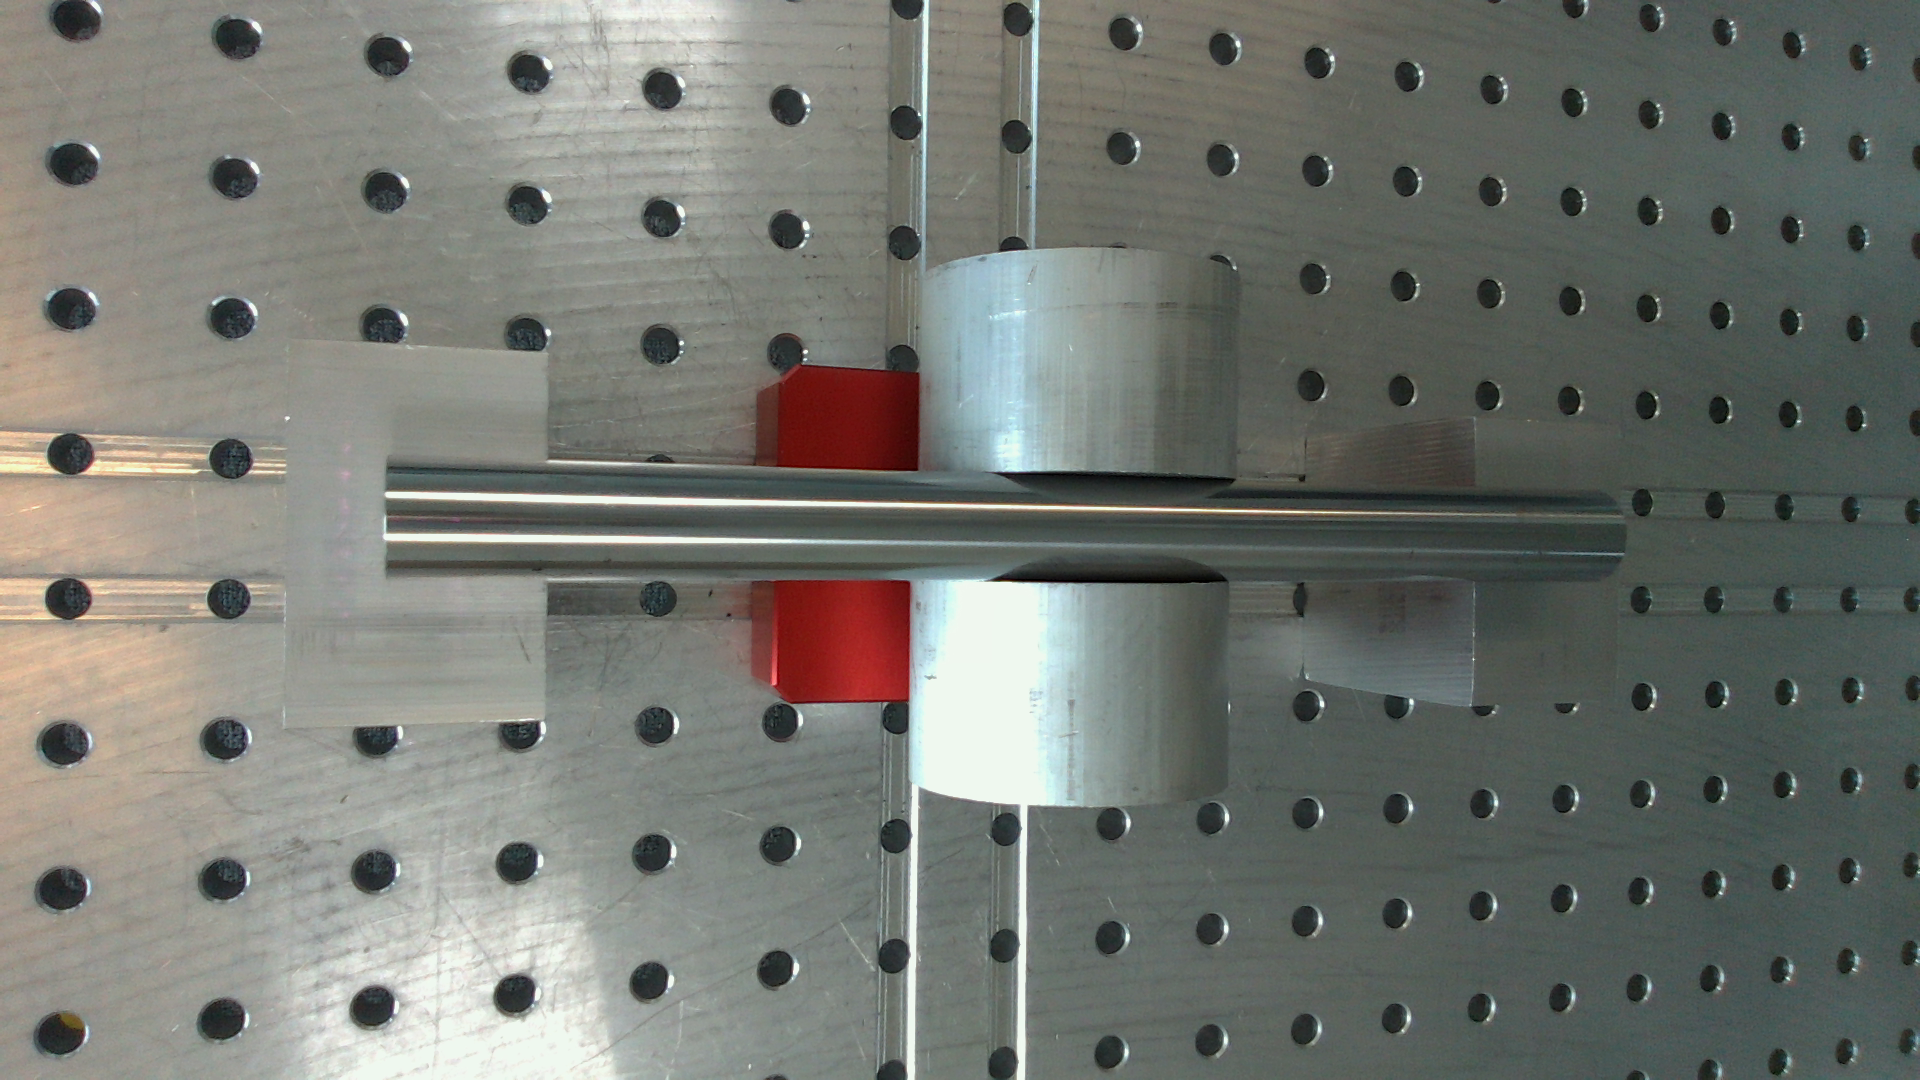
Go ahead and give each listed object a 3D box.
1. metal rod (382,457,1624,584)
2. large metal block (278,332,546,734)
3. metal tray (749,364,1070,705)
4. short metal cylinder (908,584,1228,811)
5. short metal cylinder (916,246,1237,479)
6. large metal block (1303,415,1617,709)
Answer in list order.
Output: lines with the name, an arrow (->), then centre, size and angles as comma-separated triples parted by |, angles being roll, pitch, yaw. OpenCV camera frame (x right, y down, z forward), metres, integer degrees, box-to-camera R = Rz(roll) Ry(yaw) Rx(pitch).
metal rod -> 0.029, -0.002, 0.321 | 0.301, 0.025, 0.025 | 1, 90, -20
large metal block -> -0.125, -0.001, 0.320 | 0.050, 0.080, 0.080 | 1, 90, -20
metal tray -> 0.007, 0.000, 0.396 | 0.130, 0.030, 0.090 | 1, 90, -20
short metal cylinder -> 0.027, 0.035, 0.345 | 0.080, 0.080, 0.050 | 1, 90, -20
short metal cylinder -> 0.029, -0.040, 0.346 | 0.080, 0.080, 0.050 | 1, 90, -20
large metal block -> 0.150, 0.006, 0.420 | 0.050, 0.080, 0.080 | 1, 90, -20
